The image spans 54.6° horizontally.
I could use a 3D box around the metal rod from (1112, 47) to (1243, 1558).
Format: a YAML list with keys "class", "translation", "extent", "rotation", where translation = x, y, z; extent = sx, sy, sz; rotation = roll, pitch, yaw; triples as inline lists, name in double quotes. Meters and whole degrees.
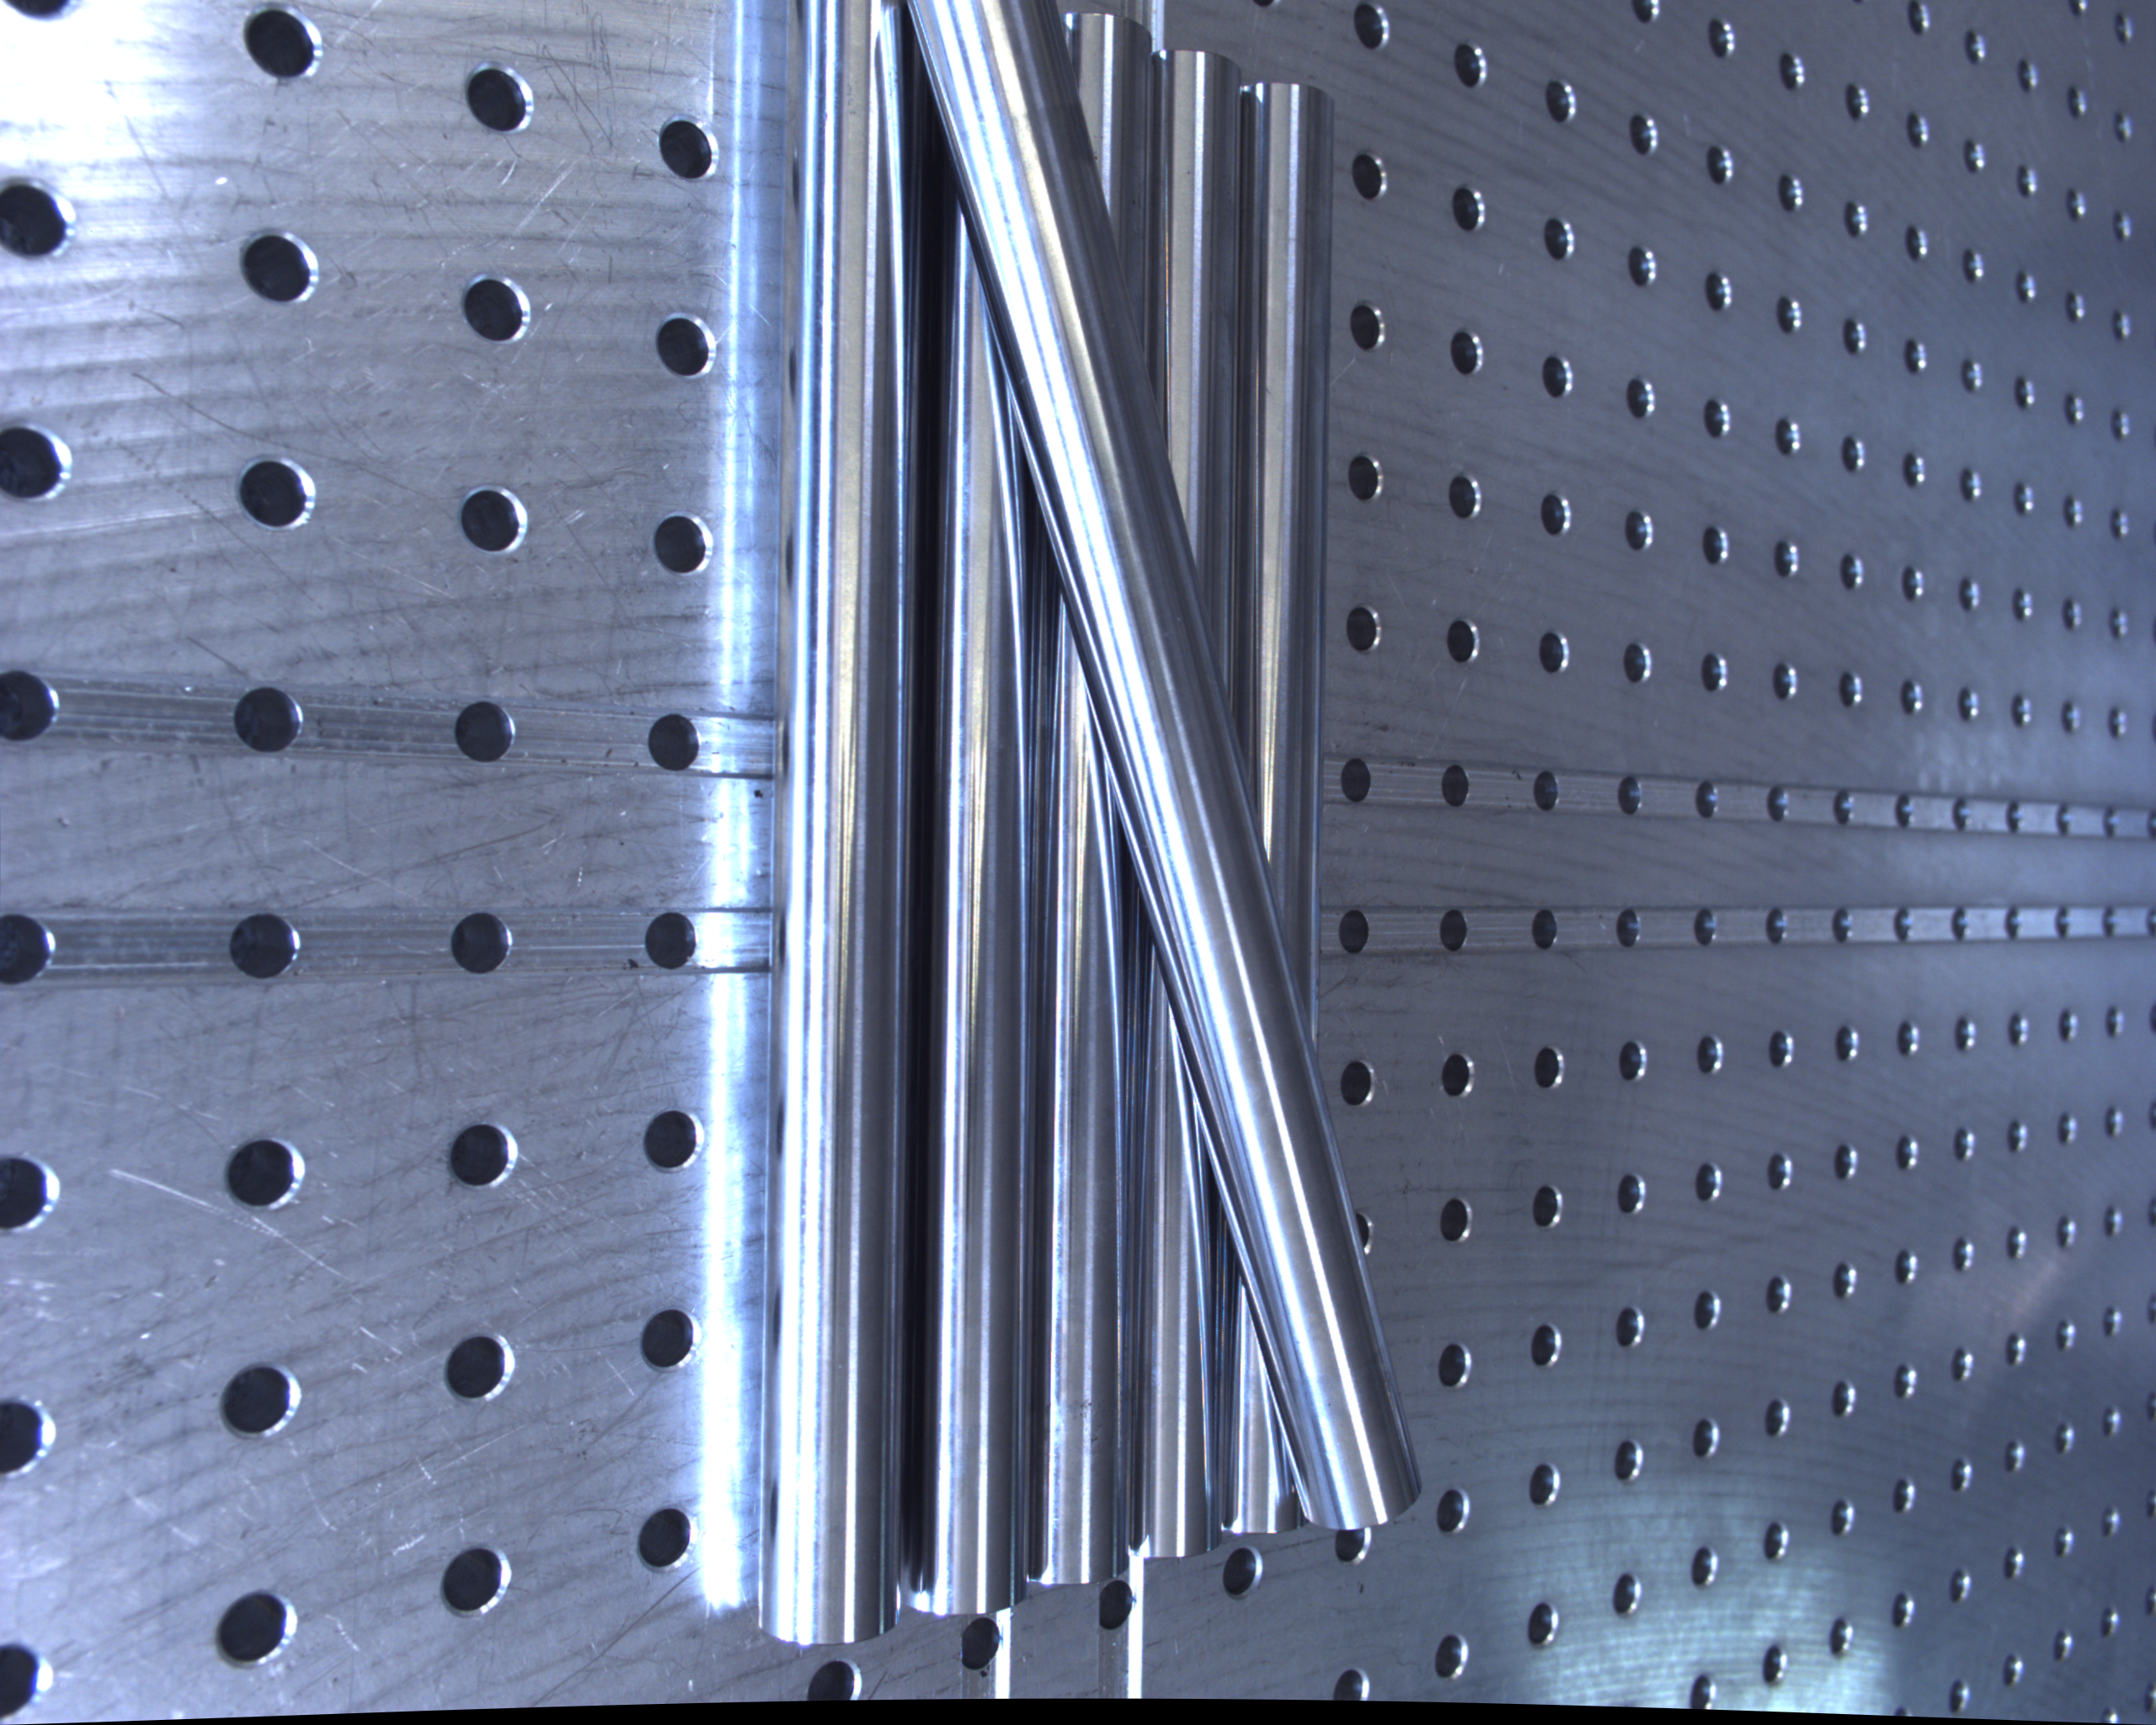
- class: "metal rod"
  translation: [0.019, -0.012, 0.425]
  extent: [0.025, 0.025, 0.298]
  rotation: [1, 89, -40]

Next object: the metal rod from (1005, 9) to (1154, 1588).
- class: "metal rod"
  translation: [0.000, -0.013, 0.407]
  extent: [0.025, 0.025, 0.298]
  rotation: [1, 89, -40]

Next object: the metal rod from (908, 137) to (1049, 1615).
- class: "metal rod"
  translation: [-0.018, -0.013, 0.391]
  extent: [0.025, 0.025, 0.298]
  rotation: [1, 89, -40]

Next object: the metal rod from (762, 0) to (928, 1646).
- class: "metal rod"
  translation: [-0.041, -0.015, 0.372]
  extent: [0.025, 0.025, 0.298]
  rotation: [1, 89, -40]

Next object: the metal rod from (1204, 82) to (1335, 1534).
- class: "metal rod"
  translation: [0.039, -0.012, 0.441]
  extent: [0.025, 0.025, 0.298]
  rotation: [2, 89, -40]

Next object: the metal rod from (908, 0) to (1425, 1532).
- class: "metal rod"
  translation: [0.020, -0.012, 0.392]
  extent: [0.025, 0.025, 0.298]
  rotation: [-25, 106, -37]
